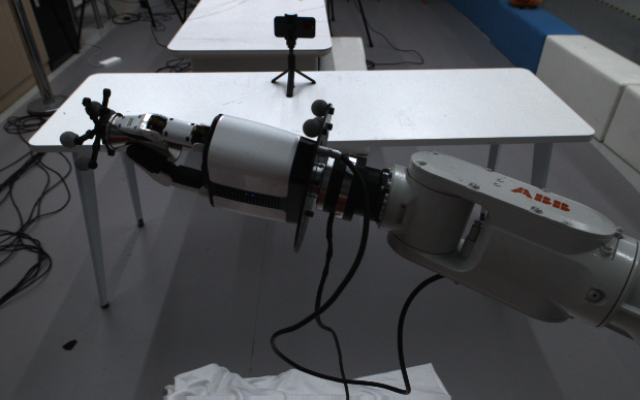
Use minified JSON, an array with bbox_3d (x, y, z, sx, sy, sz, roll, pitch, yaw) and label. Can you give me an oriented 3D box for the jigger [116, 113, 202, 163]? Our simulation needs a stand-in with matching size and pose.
[{"bbox_3d":[-0.180,-0.071,0.520,0.071,0.043,0.043,10,35,2],"label":"jigger"}]
